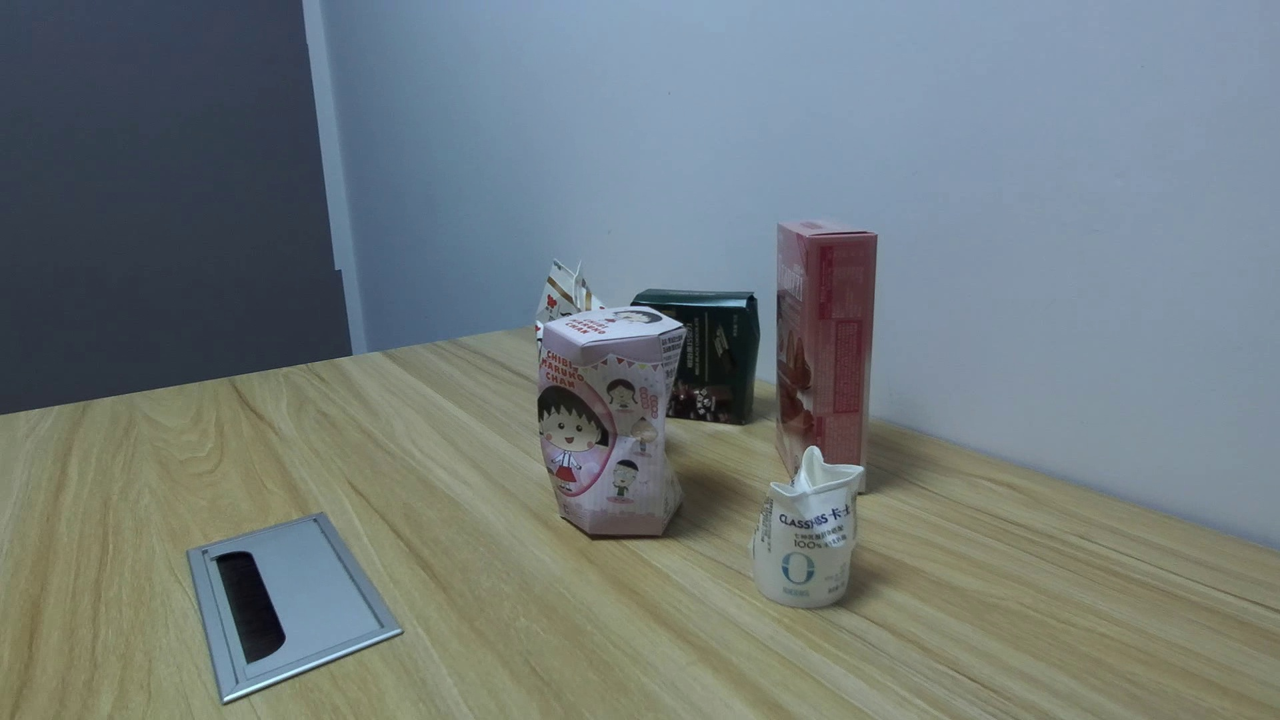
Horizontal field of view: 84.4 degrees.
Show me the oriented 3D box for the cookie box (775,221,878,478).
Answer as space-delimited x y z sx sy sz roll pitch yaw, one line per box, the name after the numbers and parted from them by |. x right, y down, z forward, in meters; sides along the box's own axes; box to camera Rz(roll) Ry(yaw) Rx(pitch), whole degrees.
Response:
0.132 -0.004 0.513 0.048 0.184 0.096 -2 16 0 | cookie box

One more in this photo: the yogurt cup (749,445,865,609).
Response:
0.090 0.091 0.386 0.055 0.072 0.055 -11 23 -26 | yogurt cup

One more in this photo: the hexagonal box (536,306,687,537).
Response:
-0.016 0.038 0.466 0.088 0.134 0.093 5 18 18 | hexagonal box

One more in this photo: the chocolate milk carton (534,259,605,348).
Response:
-0.039 -0.003 0.567 0.074 0.156 0.076 -12 26 -12 | chocolate milk carton

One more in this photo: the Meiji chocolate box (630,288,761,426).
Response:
0.050 -0.006 0.648 0.122 0.116 0.058 5 19 18 | Meiji chocolate box
